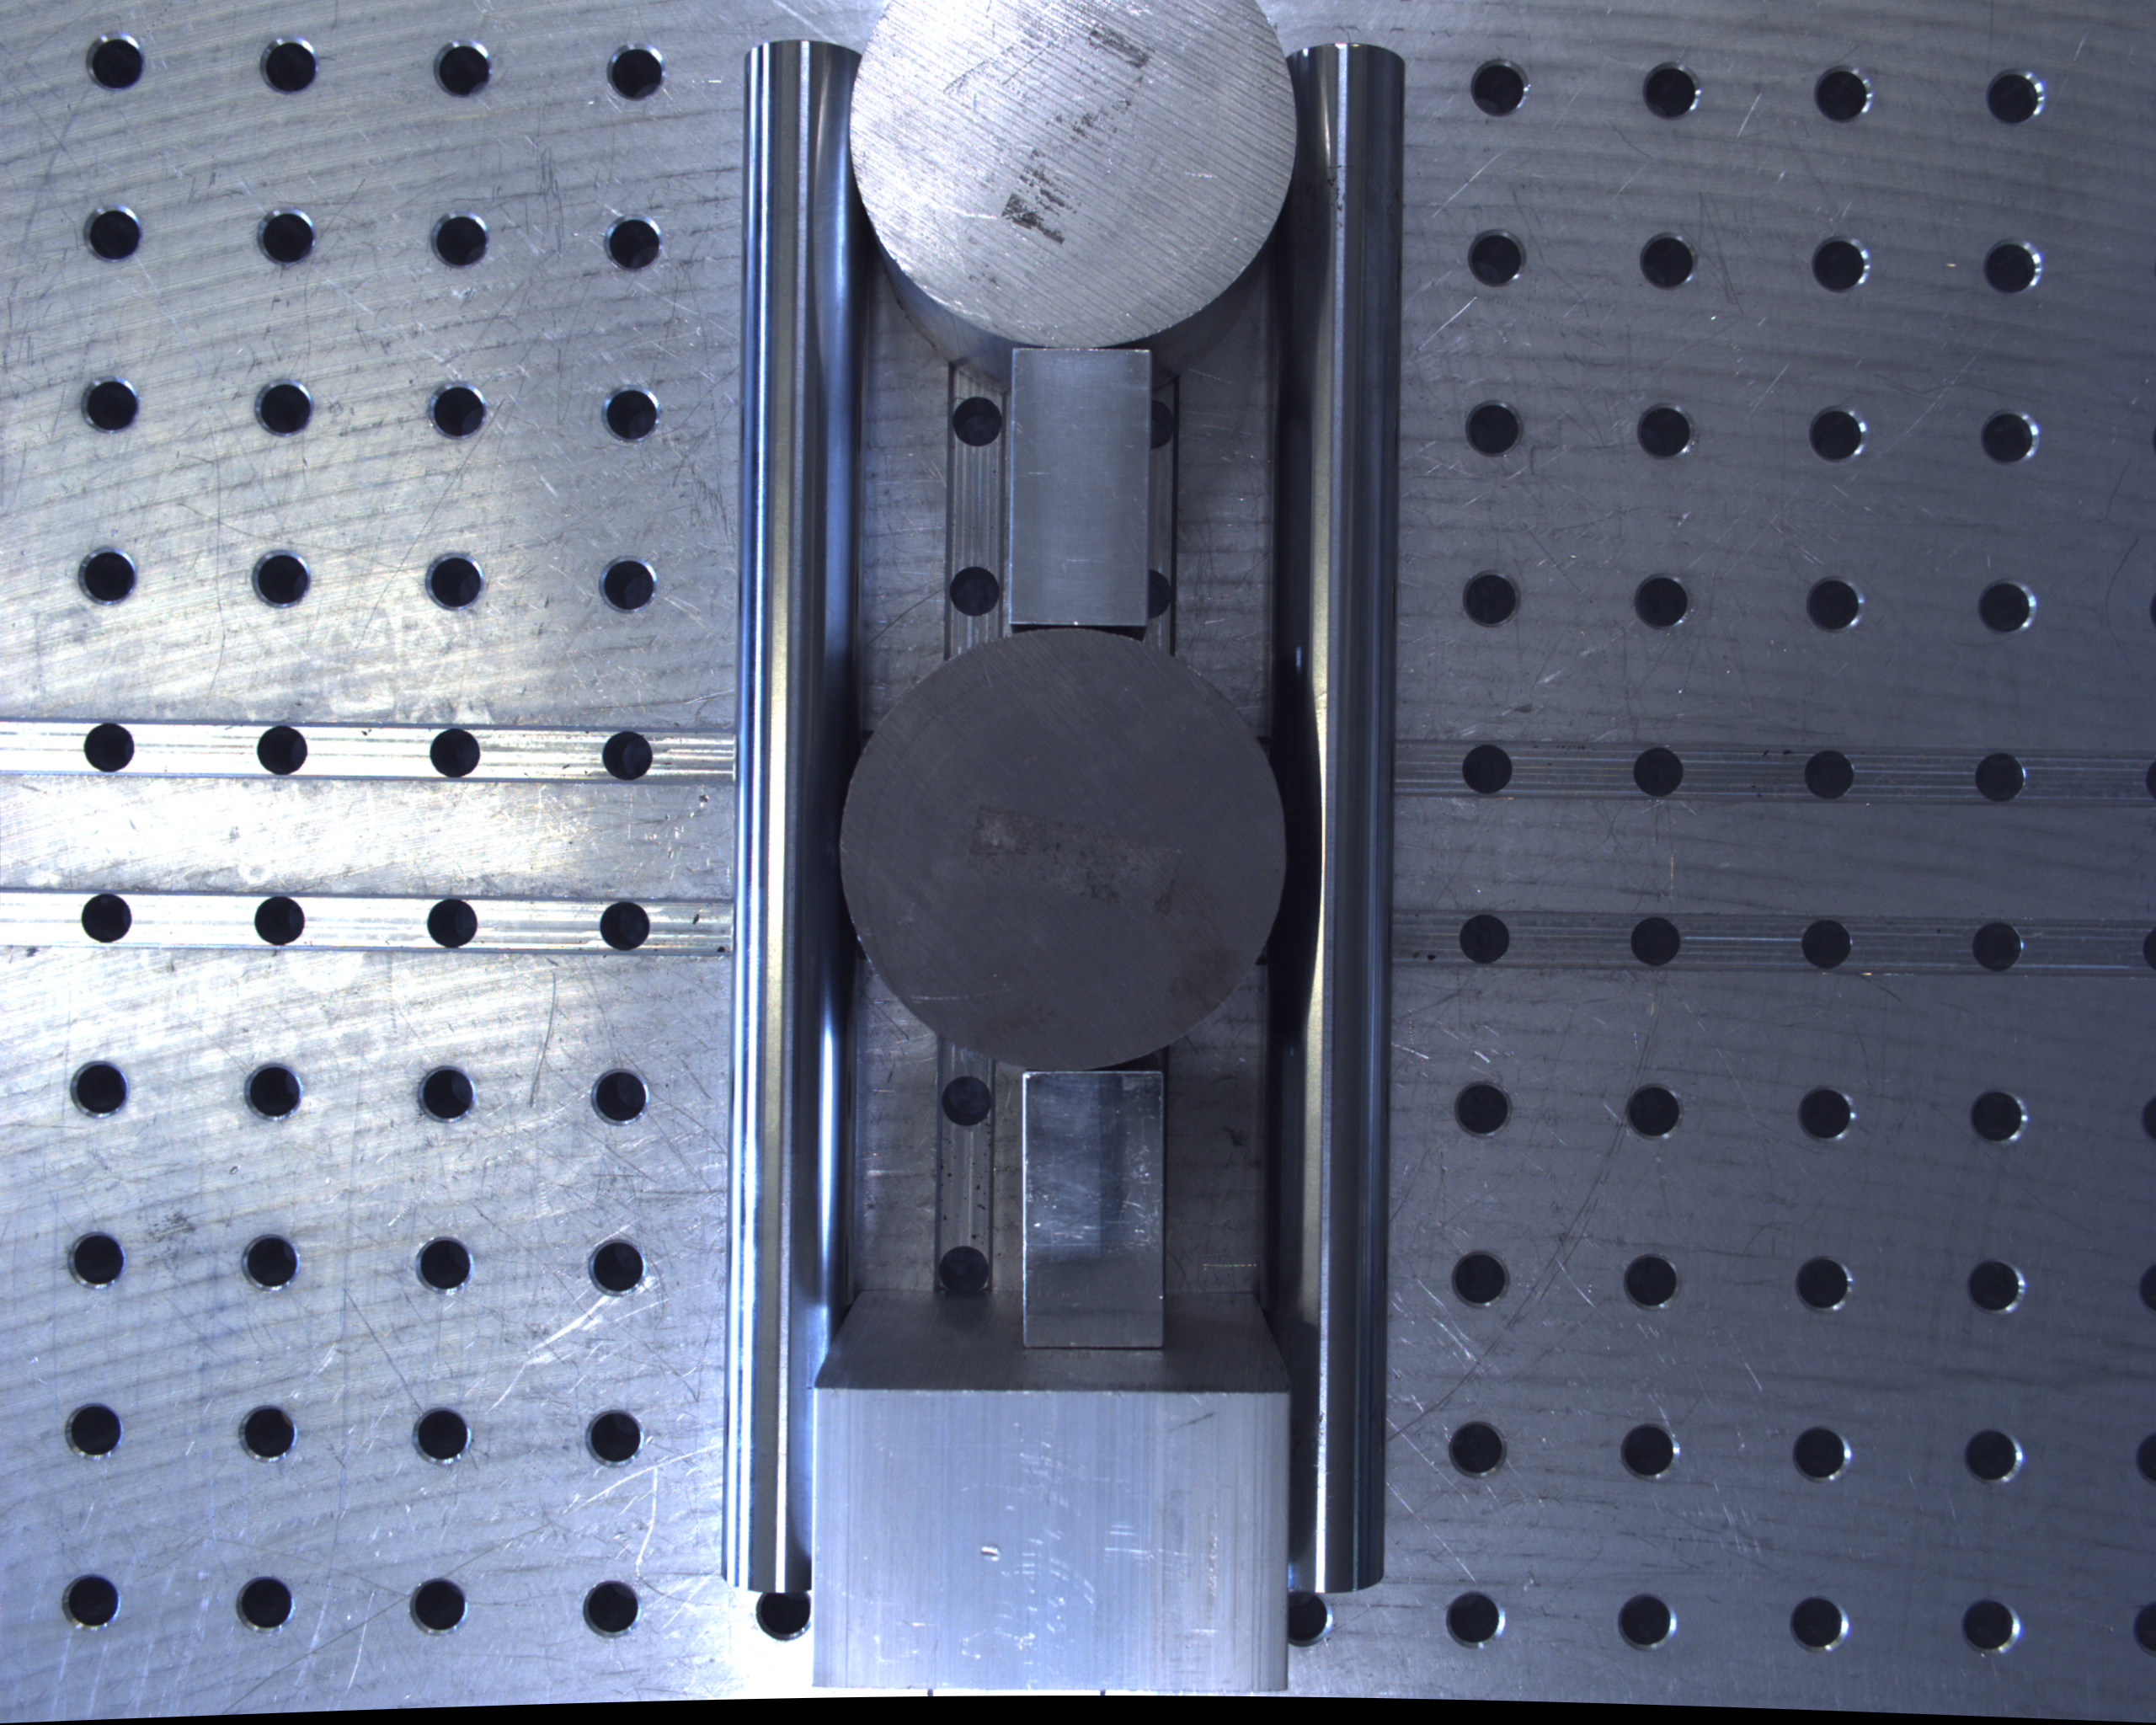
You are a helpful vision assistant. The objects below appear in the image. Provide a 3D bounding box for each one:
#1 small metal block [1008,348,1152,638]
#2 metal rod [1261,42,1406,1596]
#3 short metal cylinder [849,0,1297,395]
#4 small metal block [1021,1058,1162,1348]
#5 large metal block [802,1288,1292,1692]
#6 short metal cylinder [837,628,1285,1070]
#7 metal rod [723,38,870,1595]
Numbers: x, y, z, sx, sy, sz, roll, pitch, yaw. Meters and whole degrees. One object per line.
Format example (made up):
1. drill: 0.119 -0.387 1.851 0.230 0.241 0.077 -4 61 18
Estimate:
1. small metal block: 0.000 -0.068 0.399 0.025 0.050 0.050 1 90 0
2. metal rod: 0.050 -0.008 0.413 0.025 0.025 0.298 1 90 0
3. short metal cylinder: -0.001 -0.132 0.400 0.081 0.050 0.080 0 90 0
4. small metal block: 0.002 0.063 0.400 0.025 0.050 0.050 0 90 0
5. large metal block: -0.005 0.112 0.386 0.081 0.080 0.050 1 90 0
6. short metal cylinder: -0.003 -0.003 0.400 0.081 0.050 0.080 0 90 0
7. metal rod: -0.055 -0.009 0.412 0.025 0.025 0.298 1 90 0
